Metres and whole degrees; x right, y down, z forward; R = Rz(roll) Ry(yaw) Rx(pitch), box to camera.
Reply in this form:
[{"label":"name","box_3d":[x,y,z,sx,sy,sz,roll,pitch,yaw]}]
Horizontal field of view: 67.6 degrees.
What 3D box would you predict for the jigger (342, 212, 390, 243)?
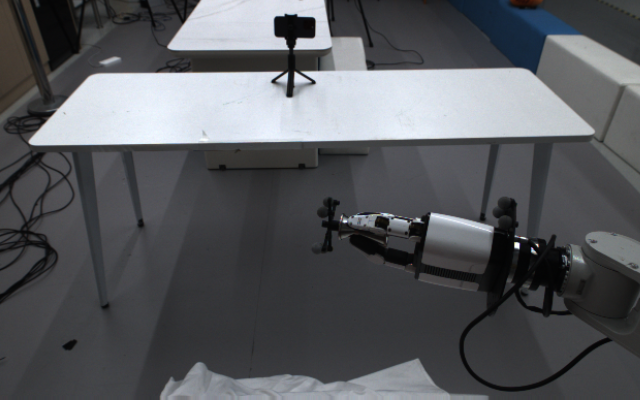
[{"label":"jigger","box_3d":[0.070,0.038,0.692,0.071,0.043,0.043,6,35,13]}]
